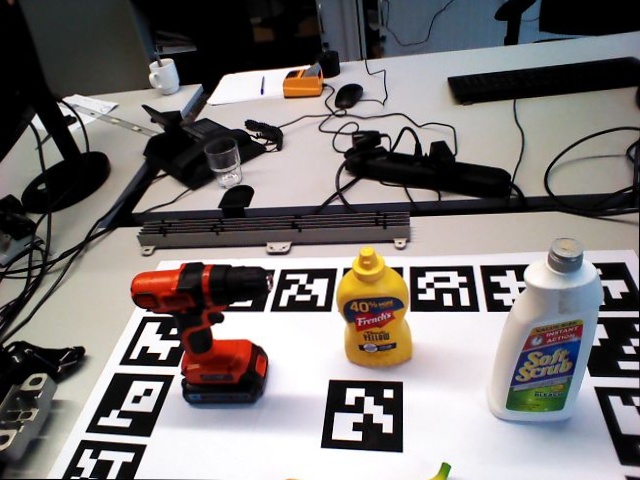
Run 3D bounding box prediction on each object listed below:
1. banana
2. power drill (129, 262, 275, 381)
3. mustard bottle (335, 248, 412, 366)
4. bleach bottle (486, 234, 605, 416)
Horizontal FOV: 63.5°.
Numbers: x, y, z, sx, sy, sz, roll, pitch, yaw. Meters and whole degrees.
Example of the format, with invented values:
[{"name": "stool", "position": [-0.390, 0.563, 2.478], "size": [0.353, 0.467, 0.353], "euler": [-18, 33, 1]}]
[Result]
[{"name": "banana", "position": [0.049, 0.275, 0.563], "size": [0.198, 0.039, 0.074], "euler": [-8, 41, 10]}, {"name": "power drill", "position": [-0.127, 0.101, 0.665], "size": [0.185, 0.187, 0.057], "euler": [-9, 39, 10]}, {"name": "mustard bottle", "position": [0.070, 0.087, 0.679], "size": [0.096, 0.192, 0.058], "euler": [-6, 40, 5]}, {"name": "bleach bottle", "position": [0.244, 0.097, 0.571], "size": [0.103, 0.251, 0.067], "euler": [4, 42, 18]}]
